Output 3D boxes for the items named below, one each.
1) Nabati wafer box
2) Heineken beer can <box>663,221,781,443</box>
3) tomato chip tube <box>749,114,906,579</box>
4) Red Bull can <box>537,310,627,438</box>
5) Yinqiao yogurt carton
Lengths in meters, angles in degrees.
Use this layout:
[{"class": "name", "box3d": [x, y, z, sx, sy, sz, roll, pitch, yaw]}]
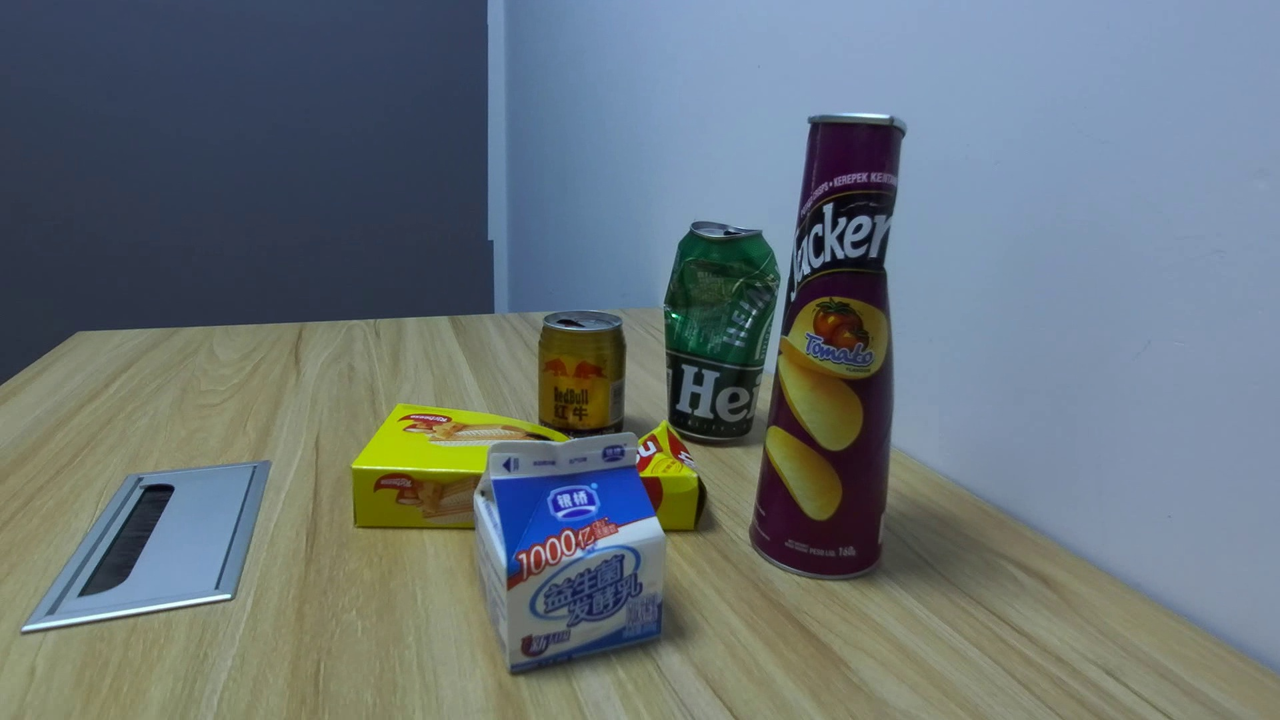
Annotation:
[{"class": "Nabati wafer box", "box3d": [-0.063, 0.068, 0.453, 0.204, 0.042, 0.107, 3, 18, -2]}, {"class": "Heineken beer can", "box3d": [0.057, -0.020, 0.538, 0.066, 0.164, 0.077, -3, 18, -17]}, {"class": "tomato chip tube", "box3d": [0.108, -0.005, 0.376, 0.078, 0.235, 0.076, -10, 21, -37]}, {"class": "Red Bull can", "box3d": [-0.044, 0.015, 0.537, 0.067, 0.093, 0.067, 2, 16, 0]}, {"class": "Yinqiao yogurt carton", "box3d": [-0.033, 0.077, 0.329, 0.076, 0.092, 0.073, -5, 21, -20]}]
